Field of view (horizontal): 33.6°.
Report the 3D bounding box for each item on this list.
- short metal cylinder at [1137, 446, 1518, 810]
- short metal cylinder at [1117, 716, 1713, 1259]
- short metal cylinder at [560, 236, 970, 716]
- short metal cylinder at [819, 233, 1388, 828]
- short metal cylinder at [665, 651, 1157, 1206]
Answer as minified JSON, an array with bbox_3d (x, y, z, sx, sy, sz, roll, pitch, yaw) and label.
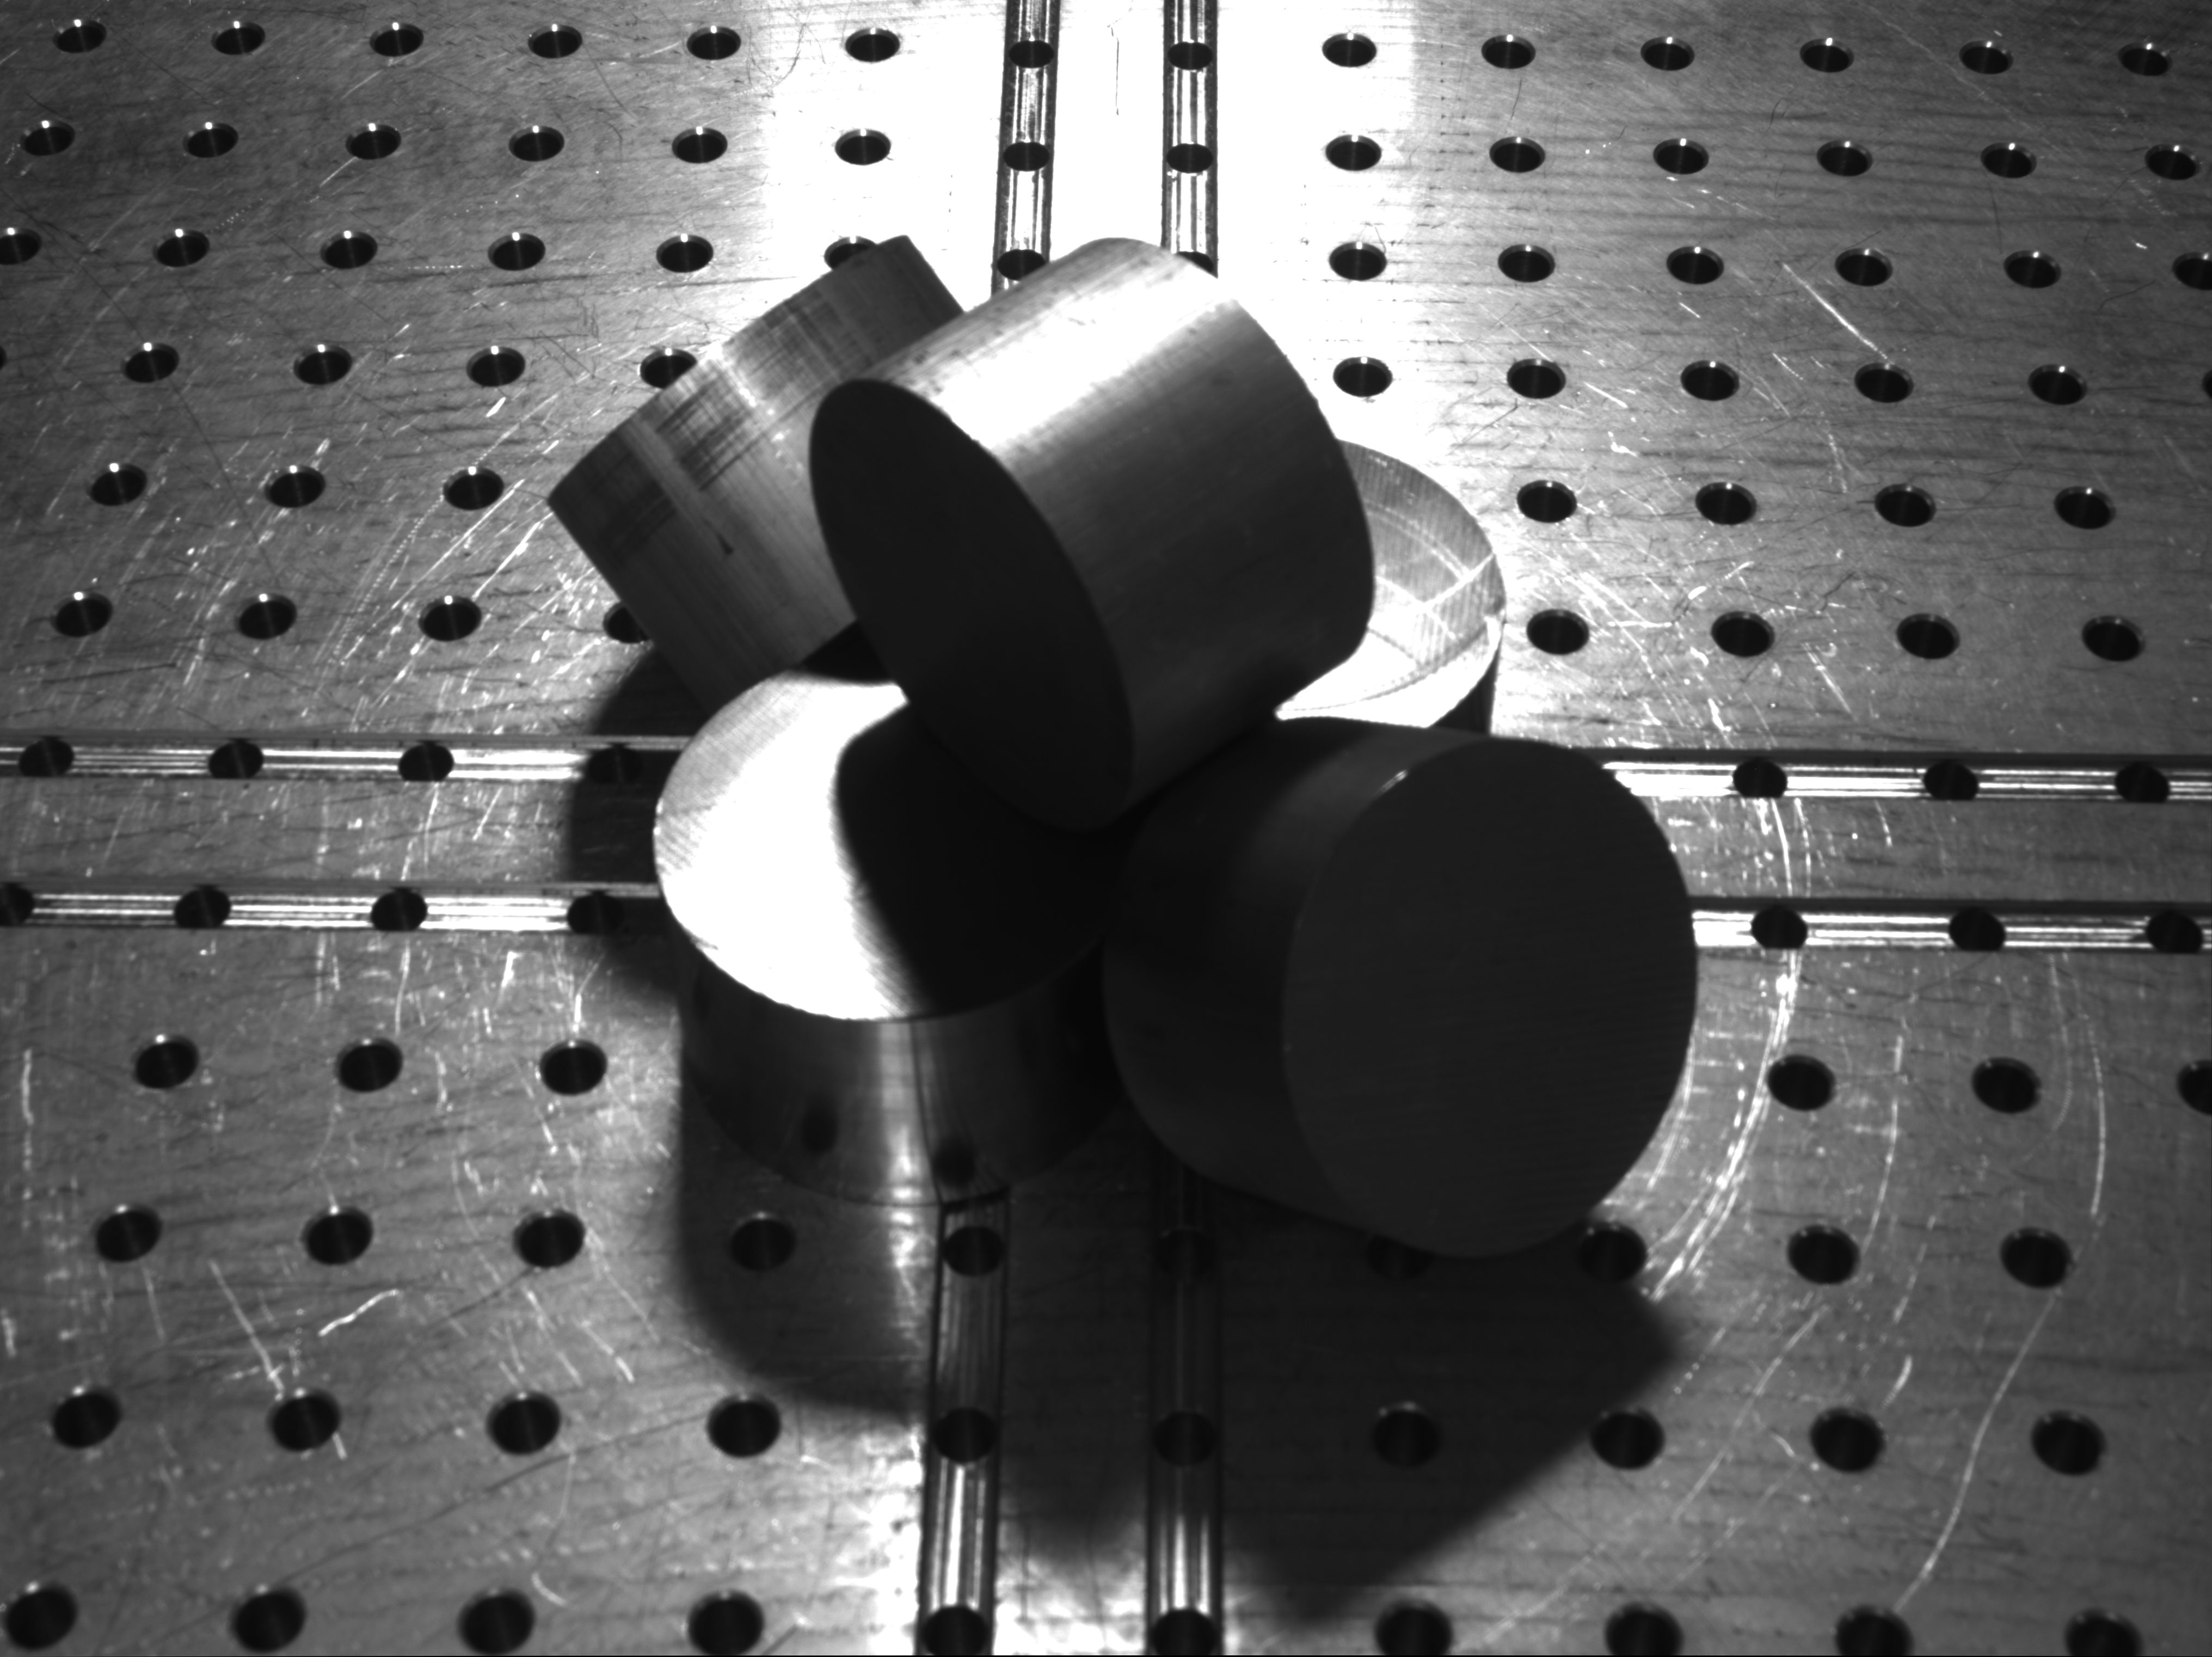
[{"bbox_3d":[0.031,-0.024,0.648,0.080,0.050,0.080,0,50,0],"label":"short metal cylinder"},{"bbox_3d":[0.049,0.024,0.580,0.080,0.080,0.050,-33,22,-25],"label":"short metal cylinder"},{"bbox_3d":[-0.050,-0.061,0.651,0.080,0.080,0.050,-39,94,-28],"label":"short metal cylinder"},{"bbox_3d":[-0.001,-0.047,0.582,0.050,0.080,0.080,-34,57,-25],"label":"short metal cylinder"},{"bbox_3d":[-0.031,0.016,0.614,0.080,0.050,0.080,0,50,0],"label":"short metal cylinder"}]
